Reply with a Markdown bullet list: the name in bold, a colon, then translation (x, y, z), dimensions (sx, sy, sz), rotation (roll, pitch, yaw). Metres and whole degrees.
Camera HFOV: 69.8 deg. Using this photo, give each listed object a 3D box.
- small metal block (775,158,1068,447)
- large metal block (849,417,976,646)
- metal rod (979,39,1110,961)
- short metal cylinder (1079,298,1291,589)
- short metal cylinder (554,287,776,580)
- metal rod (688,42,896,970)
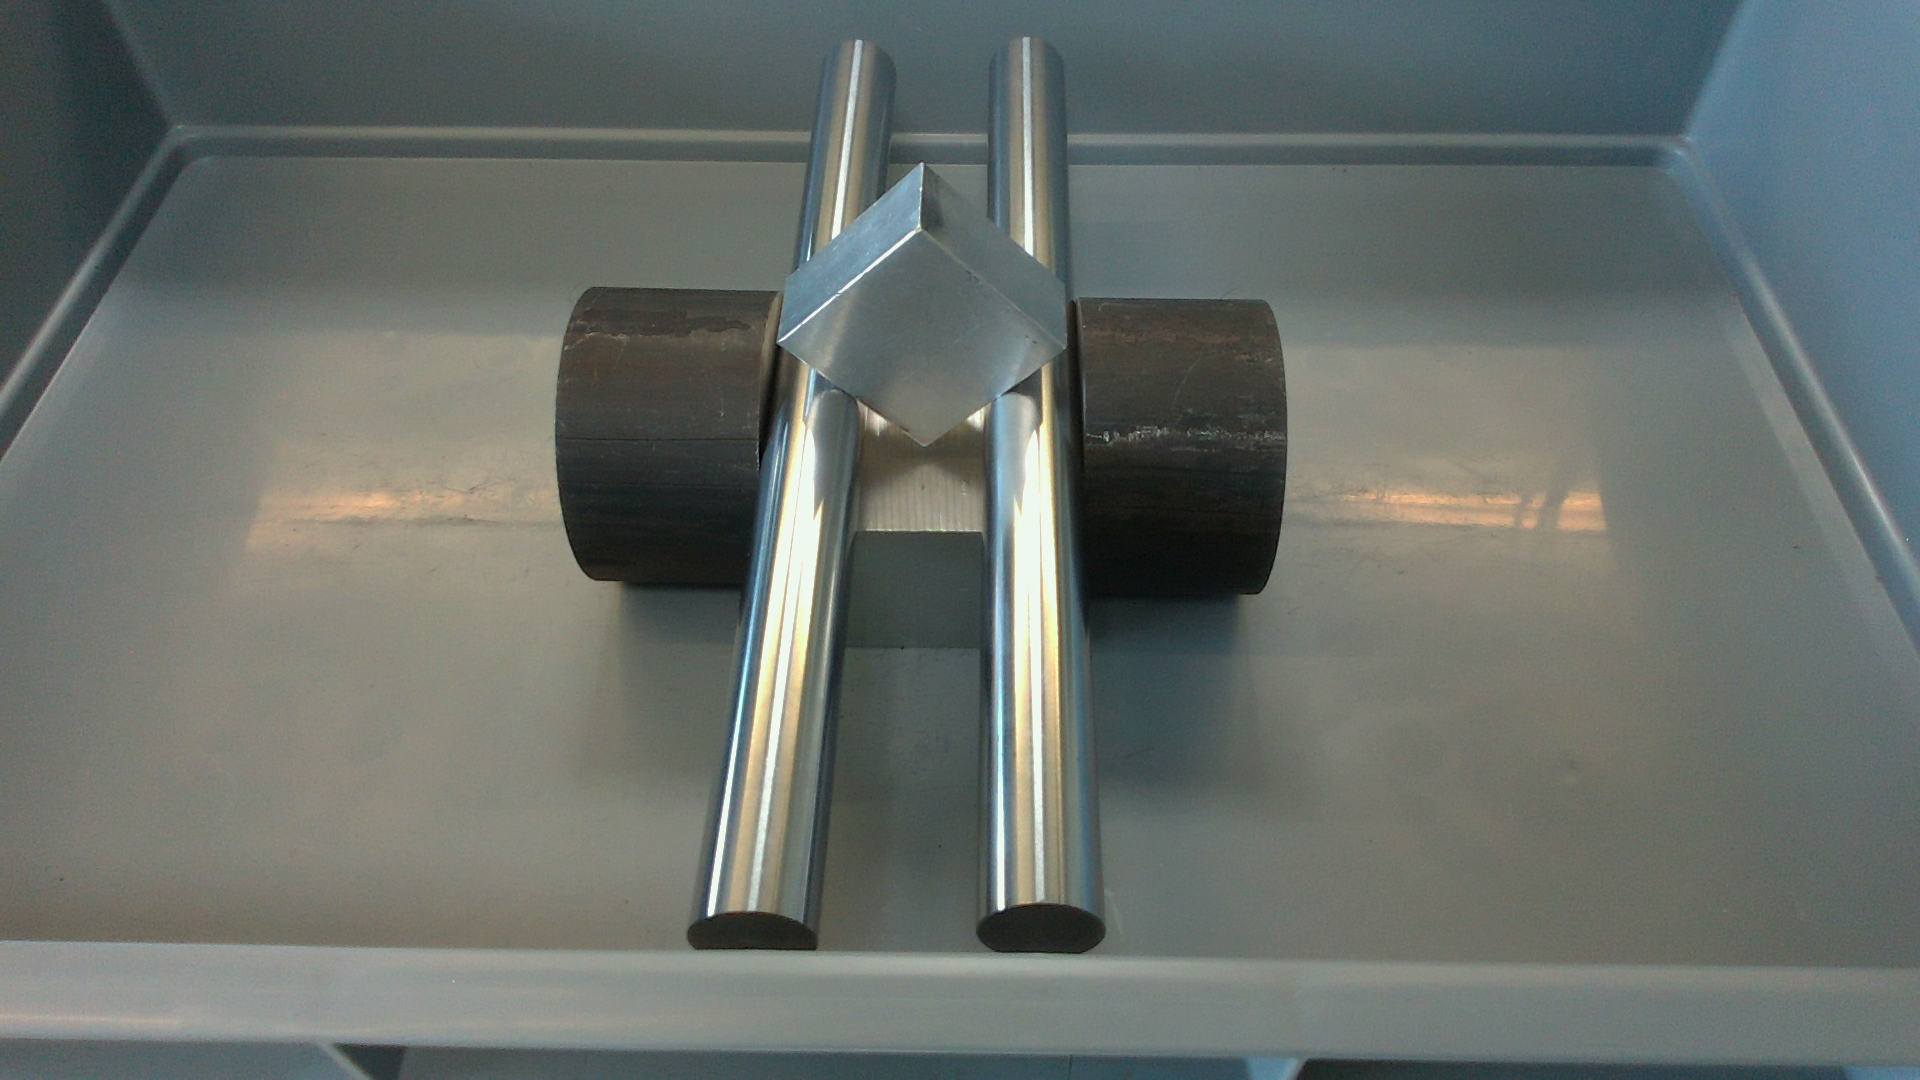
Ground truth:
- **small metal block**: translation (-0.009, -0.057, 0.339), dimensions (0.050, 0.050, 0.025), rotation (-32, 40, 33)
- **large metal block**: translation (-0.009, -0.017, 0.388), dimensions (0.080, 0.050, 0.080), rotation (1, 50, 1)
- **metal rod**: translation (0.019, -0.040, 0.359), dimensions (0.025, 0.025, 0.300), rotation (1, 50, 1)
- **short metal cylinder**: translation (0.057, -0.026, 0.375), dimensions (0.050, 0.080, 0.080), rotation (0, 50, 1)
- **short metal cylinder**: translation (-0.074, -0.029, 0.378), dimensions (0.050, 0.080, 0.080), rotation (1, 50, 1)
- **metal rod**: translation (-0.036, -0.038, 0.357), dimensions (0.025, 0.025, 0.300), rotation (1, 50, 1)
